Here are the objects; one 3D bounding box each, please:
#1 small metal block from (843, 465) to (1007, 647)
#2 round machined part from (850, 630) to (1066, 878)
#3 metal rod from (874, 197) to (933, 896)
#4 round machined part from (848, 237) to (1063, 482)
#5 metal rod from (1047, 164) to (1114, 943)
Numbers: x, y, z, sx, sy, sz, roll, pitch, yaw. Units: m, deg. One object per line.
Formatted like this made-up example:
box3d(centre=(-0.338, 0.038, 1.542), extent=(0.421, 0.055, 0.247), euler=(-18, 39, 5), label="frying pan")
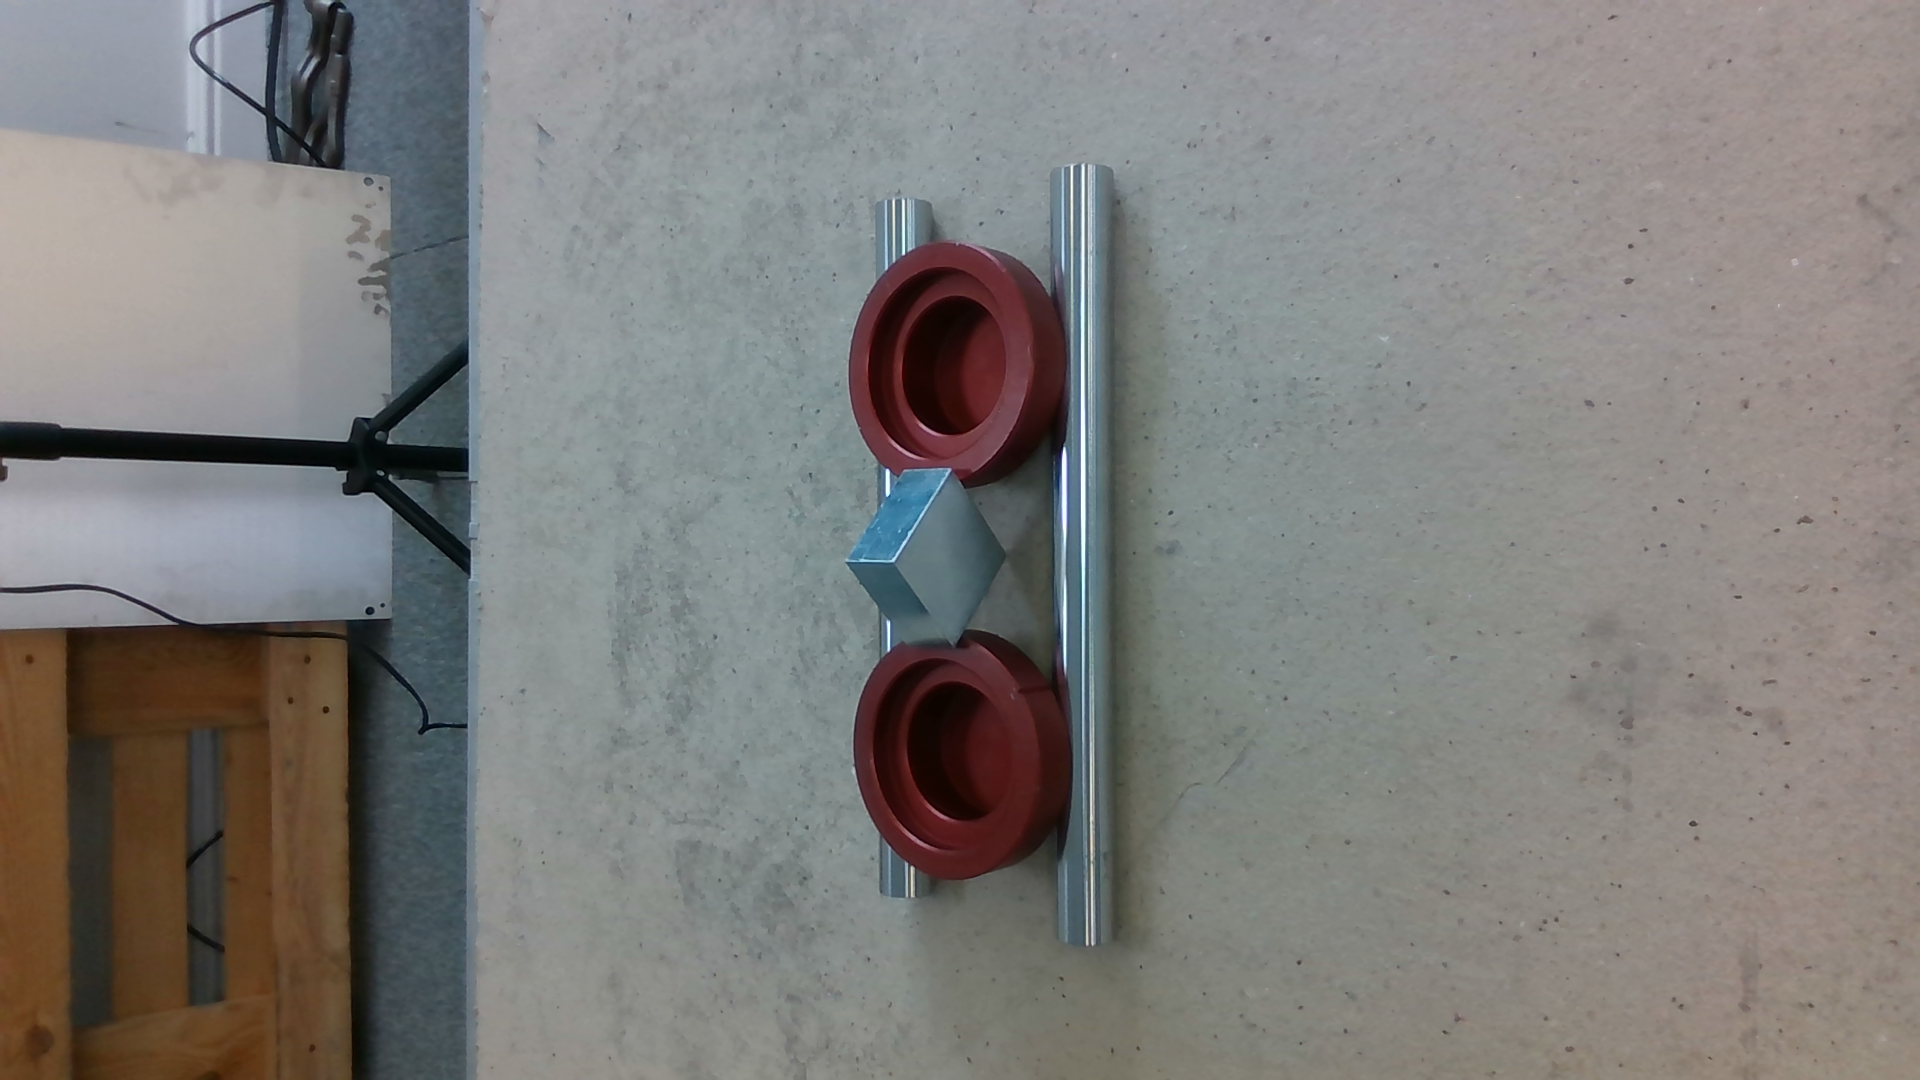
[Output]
box3d(centre=(-0.013, 0.006, 0.543), extent=(0.025, 0.050, 0.050), euler=(0, 47, 39), label="small metal block")
box3d(centre=(0.004, 0.085, 0.562), extent=(0.098, 0.042, 0.098), euler=(0, 91, 40), label="round machined part")
box3d(centre=(-0.025, 0.003, 0.603), extent=(0.025, 0.025, 0.300), euler=(0, 91, 40), label="metal rod")
box3d(centre=(0.003, -0.071, 0.562), extent=(0.098, 0.042, 0.098), euler=(0, 91, 40), label="round machined part")
box3d(centre=(0.047, 0.005, 0.542), extent=(0.025, 0.025, 0.300), euler=(0, 91, 40), label="metal rod")
